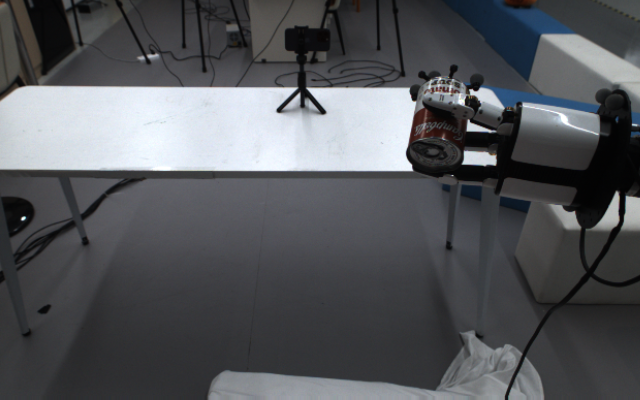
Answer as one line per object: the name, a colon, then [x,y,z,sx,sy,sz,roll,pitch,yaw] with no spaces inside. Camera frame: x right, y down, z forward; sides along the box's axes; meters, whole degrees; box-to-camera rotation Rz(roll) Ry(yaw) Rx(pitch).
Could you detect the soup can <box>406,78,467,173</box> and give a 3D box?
soup can: [0.149,-0.097,0.602,0.067,0.067,0.101,9,60,10]
